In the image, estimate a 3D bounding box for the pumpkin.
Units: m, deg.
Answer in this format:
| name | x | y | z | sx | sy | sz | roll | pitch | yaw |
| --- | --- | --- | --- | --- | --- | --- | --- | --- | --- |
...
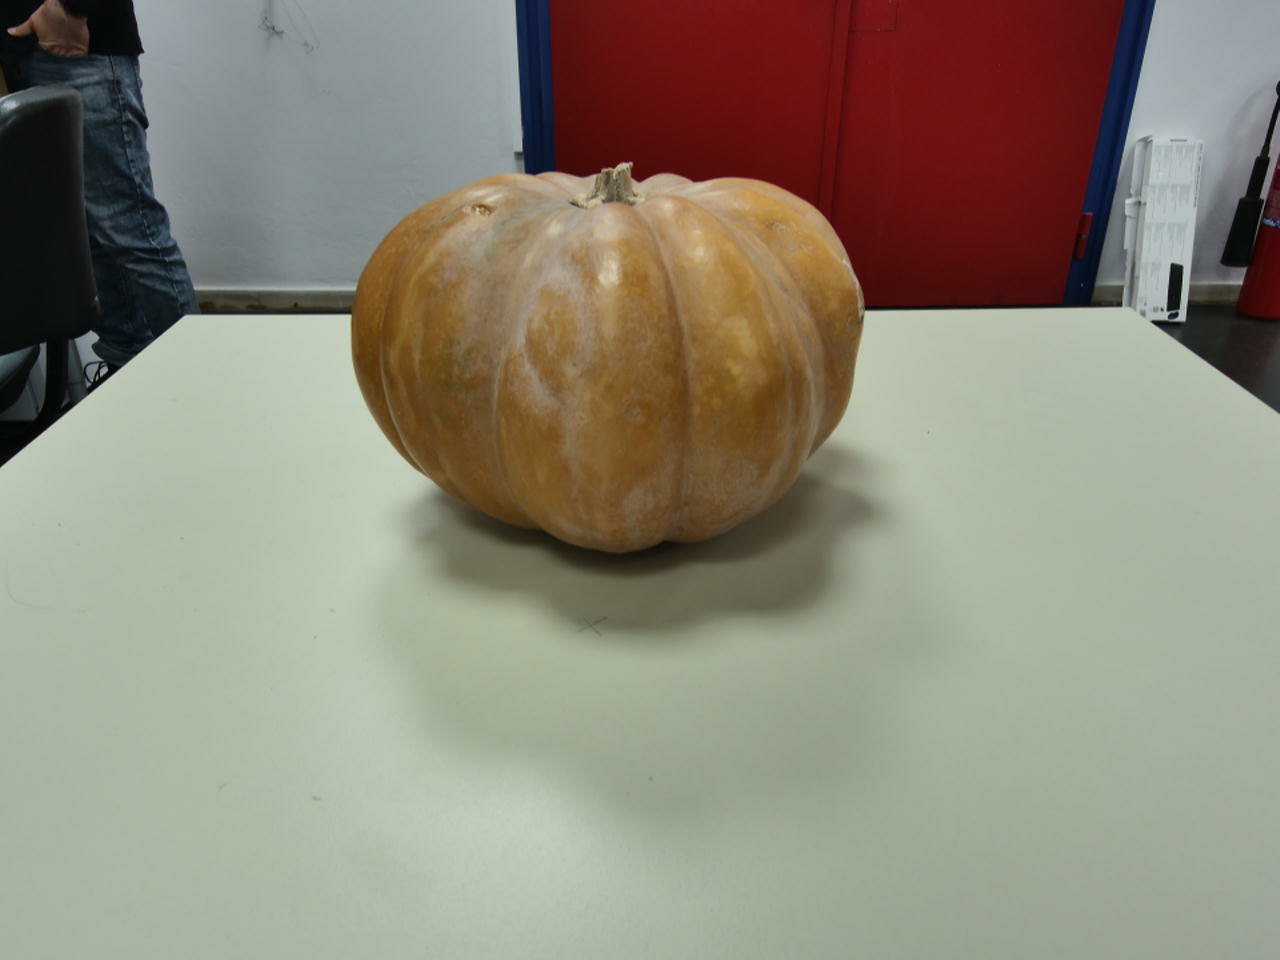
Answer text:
| name | x | y | z | sx | sy | sz | roll | pitch | yaw |
| --- | --- | --- | --- | --- | --- | --- | --- | --- | --- |
| pumpkin | -0.014 | -0.074 | 0.533 | 0.277 | 0.181 | 0.277 | 0 | 26 | 0 |
